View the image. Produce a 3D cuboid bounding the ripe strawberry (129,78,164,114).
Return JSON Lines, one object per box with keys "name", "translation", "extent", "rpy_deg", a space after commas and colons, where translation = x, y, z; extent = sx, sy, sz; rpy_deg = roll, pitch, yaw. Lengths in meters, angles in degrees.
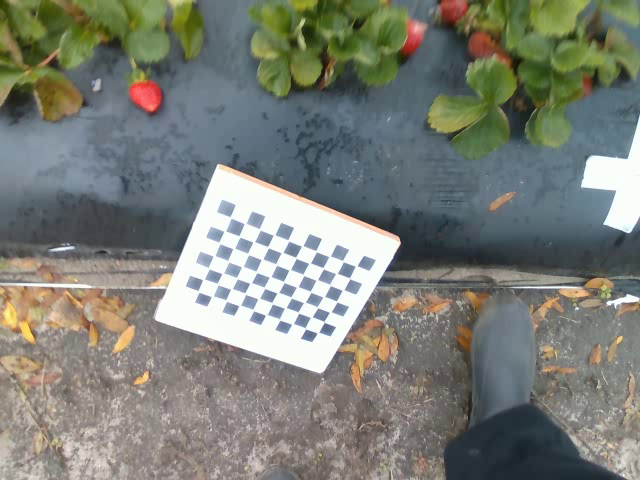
{"name": "ripe strawberry", "translation": [-0.238, -0.197, 0.768], "extent": [0.045, 0.054, 0.048], "rpy_deg": [-23, -19, 10]}
